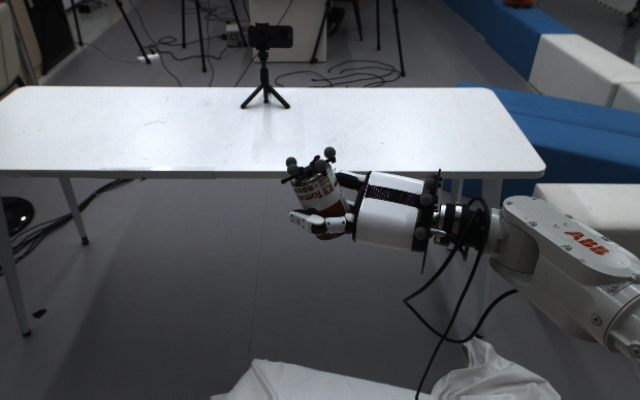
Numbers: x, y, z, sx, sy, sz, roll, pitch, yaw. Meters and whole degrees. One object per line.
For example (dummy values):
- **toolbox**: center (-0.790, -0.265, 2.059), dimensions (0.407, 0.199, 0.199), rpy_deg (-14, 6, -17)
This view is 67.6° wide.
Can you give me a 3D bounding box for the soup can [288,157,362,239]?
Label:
- **soup can**: center (0.006, 0.001, 0.741), dimensions (0.067, 0.101, 0.067), rpy_deg (-21, 24, 10)
